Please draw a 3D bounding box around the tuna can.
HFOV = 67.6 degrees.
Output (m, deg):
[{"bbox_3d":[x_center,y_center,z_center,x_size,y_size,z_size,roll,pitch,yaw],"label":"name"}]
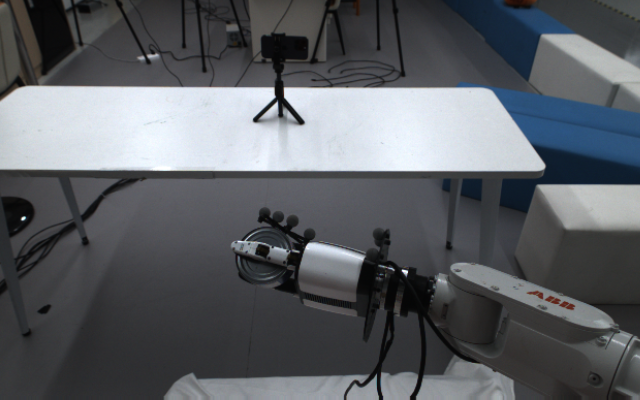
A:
[{"bbox_3d":[-0.076,0.083,0.704,0.085,0.034,0.085,-4,67,10],"label":"tuna can"}]
